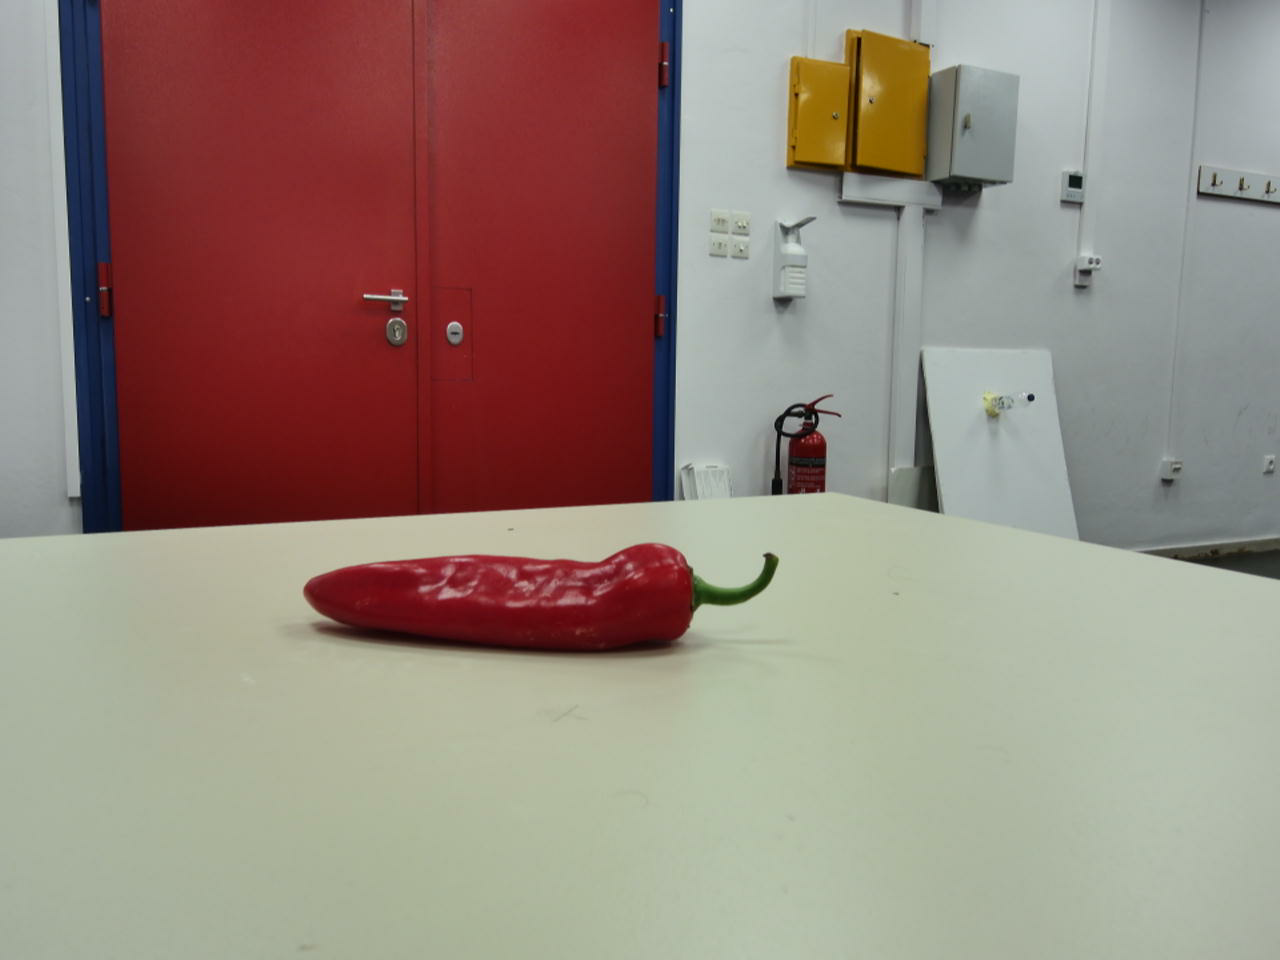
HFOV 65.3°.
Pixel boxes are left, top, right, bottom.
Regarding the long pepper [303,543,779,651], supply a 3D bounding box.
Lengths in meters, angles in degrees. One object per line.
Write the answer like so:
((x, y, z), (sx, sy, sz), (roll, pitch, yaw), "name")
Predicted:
((-0.047, 0.049, 0.432), (0.211, 0.043, 0.050), (0, 4, 6), "long pepper")
